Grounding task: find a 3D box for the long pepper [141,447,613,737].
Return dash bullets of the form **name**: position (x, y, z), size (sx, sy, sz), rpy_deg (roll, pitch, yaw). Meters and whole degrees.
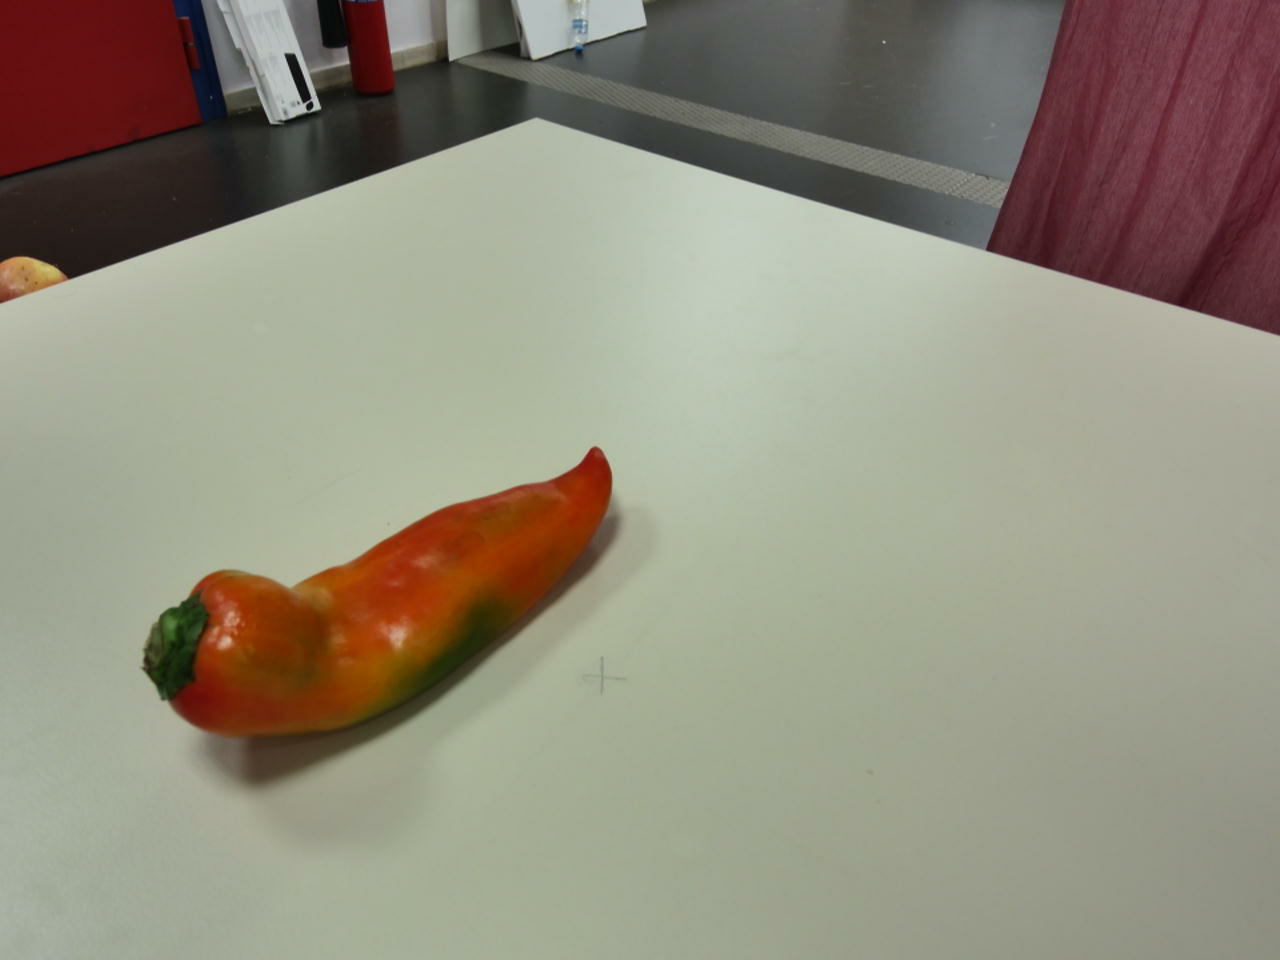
- **long pepper**: position (-0.079, 0.029, 0.368), size (0.066, 0.065, 0.199), rpy_deg (29, 44, 33)
